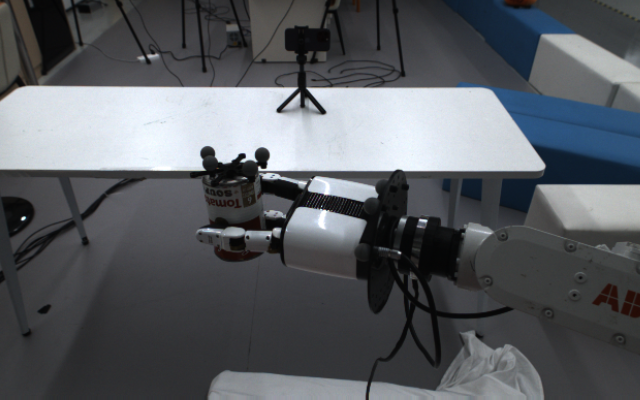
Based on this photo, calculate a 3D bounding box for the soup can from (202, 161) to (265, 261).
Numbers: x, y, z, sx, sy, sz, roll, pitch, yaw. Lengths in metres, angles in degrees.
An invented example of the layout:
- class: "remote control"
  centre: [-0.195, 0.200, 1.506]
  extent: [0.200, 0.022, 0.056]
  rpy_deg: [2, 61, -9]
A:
- class: "soup can"
  centre: [-0.099, 0.014, 0.582]
  extent: [0.067, 0.101, 0.067]
  rpy_deg: [-3, 26, 2]
